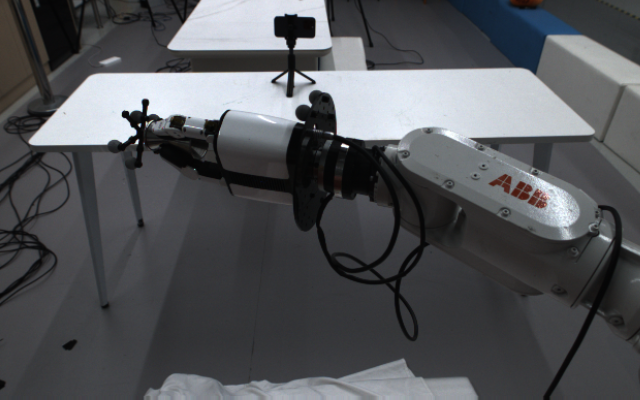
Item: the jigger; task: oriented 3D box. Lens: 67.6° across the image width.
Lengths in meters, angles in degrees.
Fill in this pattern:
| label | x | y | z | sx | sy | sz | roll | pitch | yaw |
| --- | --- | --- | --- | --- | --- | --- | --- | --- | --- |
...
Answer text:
| label | x | y | z | sx | sy | sz | roll | pitch | yaw |
| --- | --- | --- | --- | --- | --- | --- | --- | --- | --- |
| jigger | -0.175 | -0.080 | 0.606 | 0.071 | 0.043 | 0.043 | 10 | 35 | 16 |
